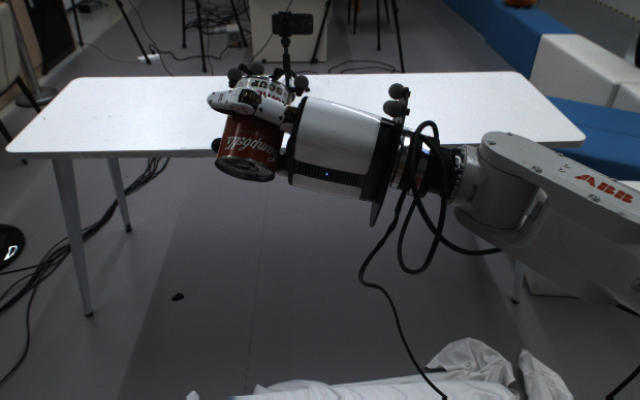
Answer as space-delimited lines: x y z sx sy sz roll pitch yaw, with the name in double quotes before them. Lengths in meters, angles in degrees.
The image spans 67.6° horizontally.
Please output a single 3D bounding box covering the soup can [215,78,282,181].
"soup can" -0.072 -0.079 0.542 0.067 0.067 0.101 8 72 9
